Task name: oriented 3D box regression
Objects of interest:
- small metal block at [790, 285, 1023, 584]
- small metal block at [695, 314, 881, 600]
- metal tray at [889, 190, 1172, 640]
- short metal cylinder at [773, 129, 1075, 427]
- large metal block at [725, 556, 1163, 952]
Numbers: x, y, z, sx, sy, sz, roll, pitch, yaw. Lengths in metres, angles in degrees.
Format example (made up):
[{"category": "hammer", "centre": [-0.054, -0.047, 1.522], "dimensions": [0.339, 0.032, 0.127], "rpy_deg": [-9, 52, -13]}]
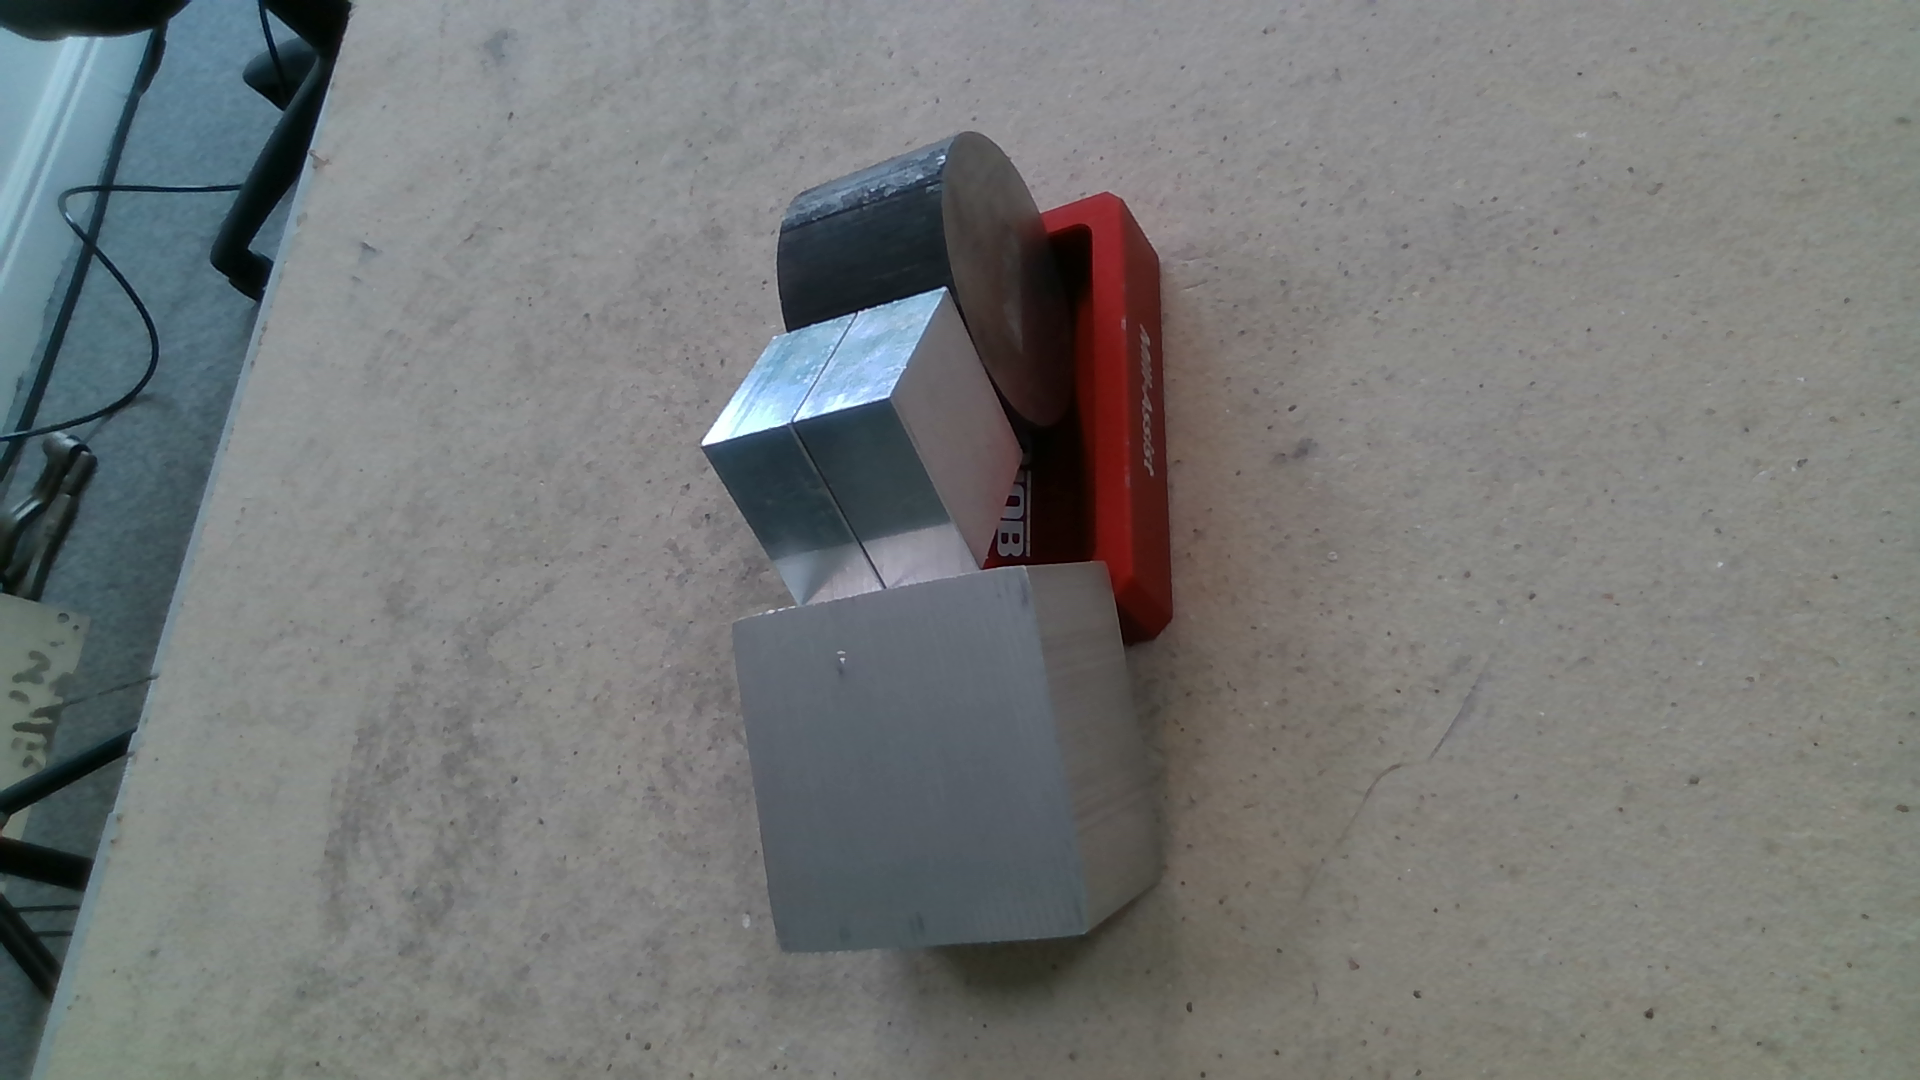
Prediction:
[{"category": "small metal block", "centre": [-0.011, -0.024, 0.329], "dimensions": [0.025, 0.050, 0.050], "rpy_deg": [-11, 34, 25]}, {"category": "small metal block", "centre": [-0.034, -0.020, 0.340], "dimensions": [0.025, 0.050, 0.050], "rpy_deg": [-11, 34, 25]}, {"category": "metal tray", "centre": [0.012, -0.030, 0.398], "dimensions": [0.090, 0.030, 0.130], "rpy_deg": [-12, 60, 26]}, {"category": "short metal cylinder", "centre": [-0.008, -0.066, 0.381], "dimensions": [0.050, 0.080, 0.080], "rpy_deg": [-13, 59, 25]}, {"category": "large metal block", "centre": [-0.003, 0.051, 0.333], "dimensions": [0.080, 0.050, 0.080], "rpy_deg": [-11, 86, 26]}]
